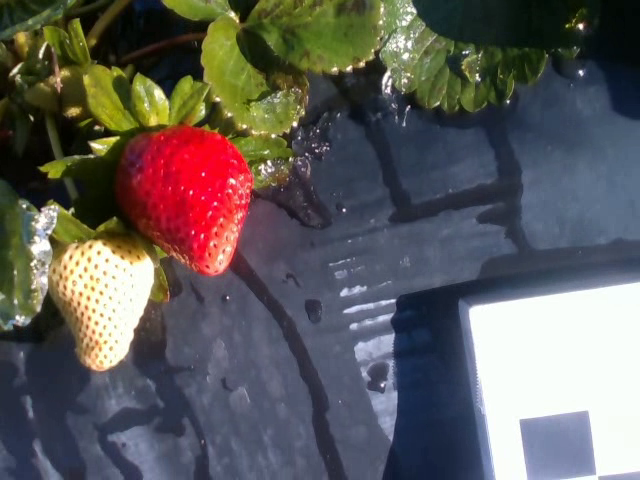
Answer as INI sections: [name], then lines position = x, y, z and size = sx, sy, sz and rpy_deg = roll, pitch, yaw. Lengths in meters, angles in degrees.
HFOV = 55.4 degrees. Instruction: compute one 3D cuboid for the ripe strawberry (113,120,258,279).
[ripe strawberry]
position = -0.037, -0.007, 0.191
size = 0.042, 0.061, 0.046
rpy_deg = -23, -37, 5
